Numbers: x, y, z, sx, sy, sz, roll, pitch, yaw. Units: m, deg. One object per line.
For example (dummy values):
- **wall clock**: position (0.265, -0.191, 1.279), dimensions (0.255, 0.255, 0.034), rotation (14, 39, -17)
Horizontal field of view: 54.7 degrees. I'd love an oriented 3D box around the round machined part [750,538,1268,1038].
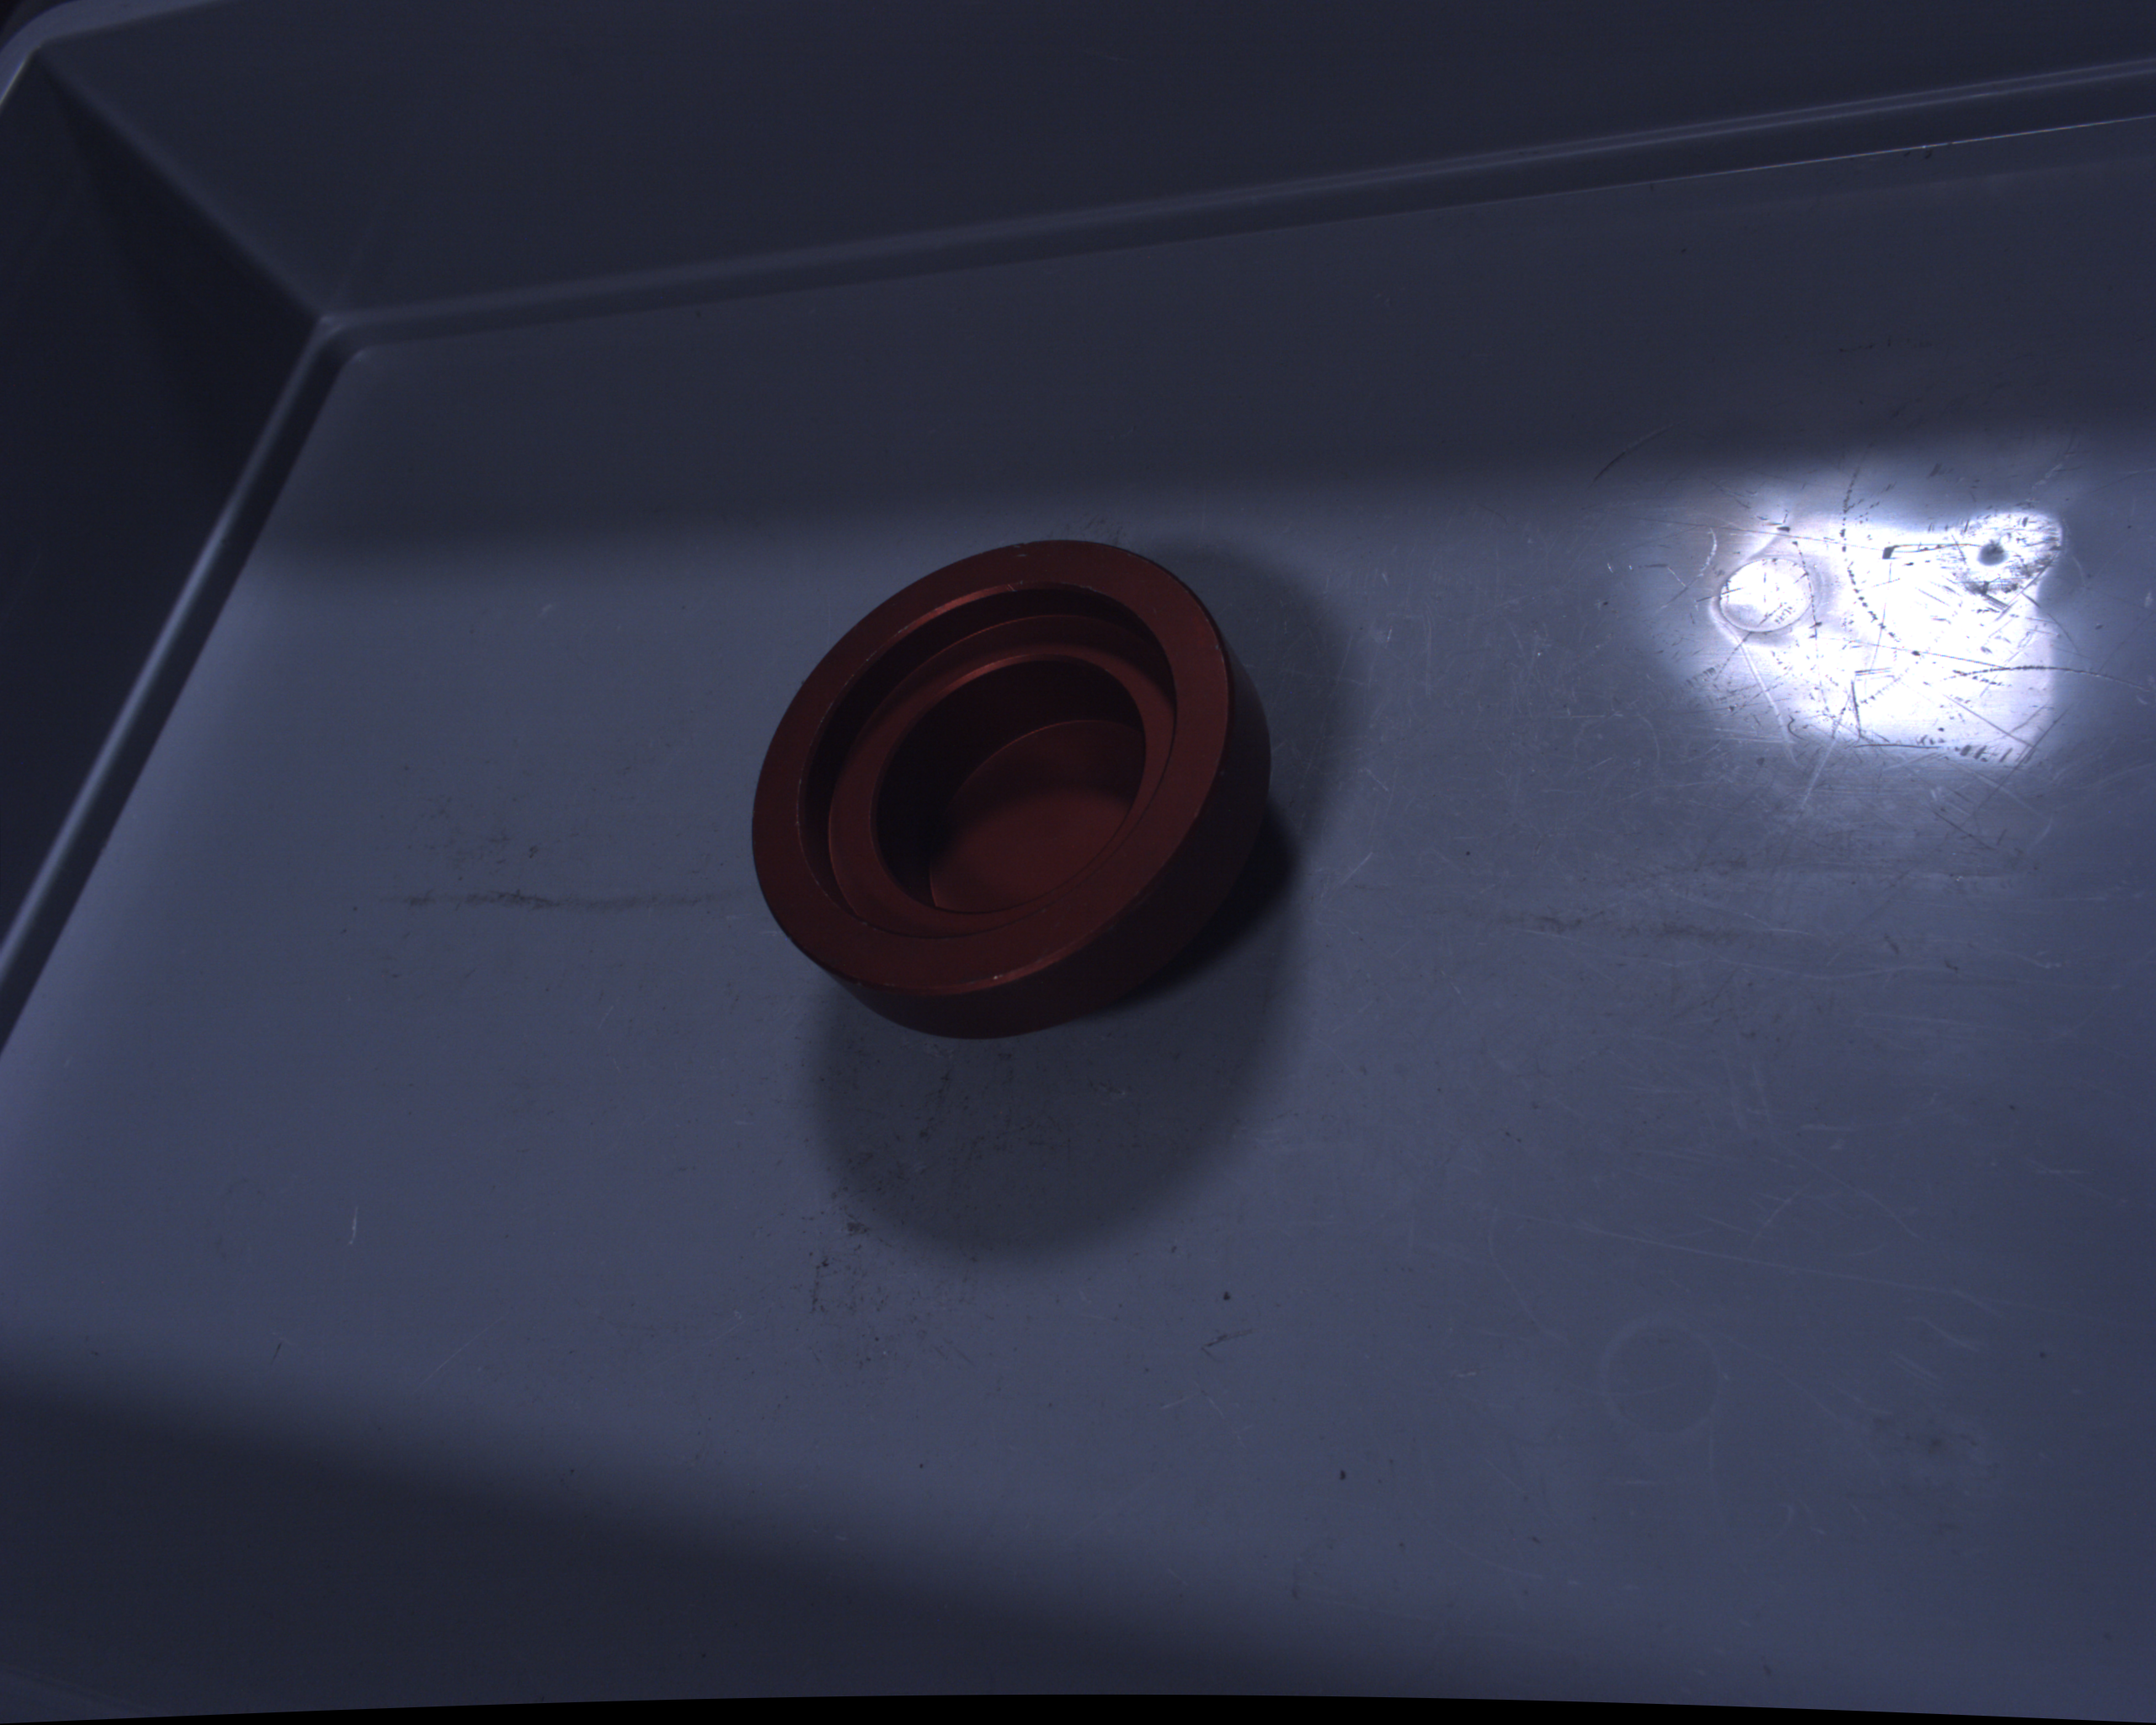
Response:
- **round machined part**: position (-0.010, -0.011, 0.400), dimensions (0.098, 0.042, 0.098), rotation (-13, 56, 20)
